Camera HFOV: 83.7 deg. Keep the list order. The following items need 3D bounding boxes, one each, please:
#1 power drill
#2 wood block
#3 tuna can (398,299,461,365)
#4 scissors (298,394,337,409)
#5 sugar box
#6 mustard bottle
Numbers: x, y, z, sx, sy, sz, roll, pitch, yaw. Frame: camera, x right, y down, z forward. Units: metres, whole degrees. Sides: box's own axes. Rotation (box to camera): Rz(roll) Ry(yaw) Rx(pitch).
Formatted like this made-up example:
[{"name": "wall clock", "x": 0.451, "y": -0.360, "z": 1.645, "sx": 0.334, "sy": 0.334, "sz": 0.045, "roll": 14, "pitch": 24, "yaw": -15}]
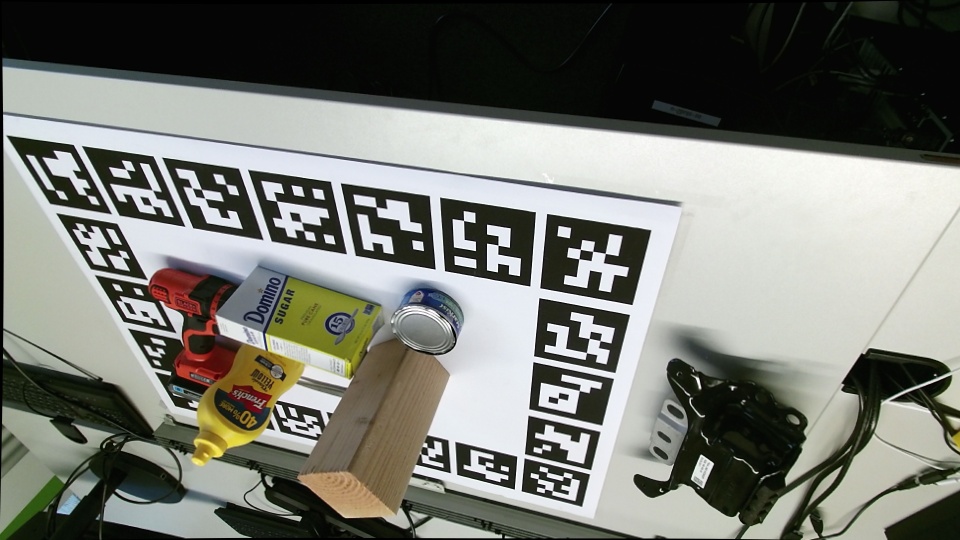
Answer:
[{"name": "power drill", "x": -0.371, "y": 0.107, "z": 0.773, "sx": 0.185, "sy": 0.057, "sz": 0.187, "roll": 20, "pitch": 123, "yaw": 2}, {"name": "wood block", "x": -0.128, "y": 0.200, "z": 0.683, "sx": 0.091, "sy": 0.205, "sz": 0.090, "roll": -15, "pitch": 119, "yaw": 27}, {"name": "tuna can", "x": -0.068, "y": 0.079, "z": 0.665, "sx": 0.086, "sy": 0.033, "sz": 0.086, "roll": 9, "pitch": 127, "yaw": 12}, {"name": "scissors", "x": -0.188, "y": 0.216, "z": 0.823, "sx": 0.203, "sy": 0.016, "sz": 0.088, "roll": 11, "pitch": 133, "yaw": 9}, {"name": "sugar box", "x": -0.235, "y": 0.071, "z": 0.682, "sx": 0.177, "sy": 0.092, "sz": 0.045, "roll": 20, "pitch": 133, "yaw": 4}, {"name": "mustard bottle", "x": -0.341, "y": 0.189, "z": 0.751, "sx": 0.058, "sy": 0.191, "sz": 0.096, "roll": -28, "pitch": 113, "yaw": 31}]
